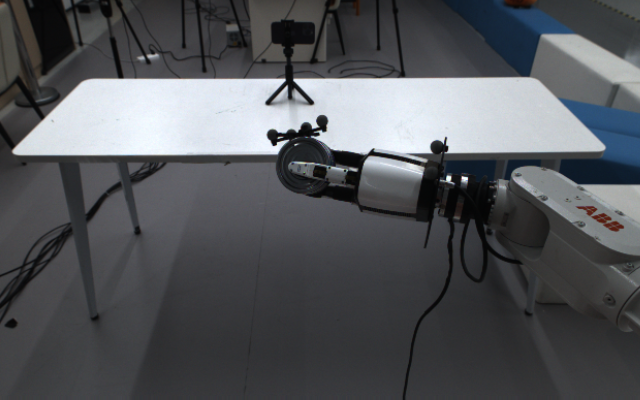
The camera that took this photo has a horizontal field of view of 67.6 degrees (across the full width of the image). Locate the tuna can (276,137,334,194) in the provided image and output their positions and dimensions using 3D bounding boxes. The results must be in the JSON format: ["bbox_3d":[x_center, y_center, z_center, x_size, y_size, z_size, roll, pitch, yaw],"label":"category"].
[{"bbox_3d":[-0.018,-0.046,0.717,0.085,0.085,0.034,12,3,14],"label":"tuna can"}]
